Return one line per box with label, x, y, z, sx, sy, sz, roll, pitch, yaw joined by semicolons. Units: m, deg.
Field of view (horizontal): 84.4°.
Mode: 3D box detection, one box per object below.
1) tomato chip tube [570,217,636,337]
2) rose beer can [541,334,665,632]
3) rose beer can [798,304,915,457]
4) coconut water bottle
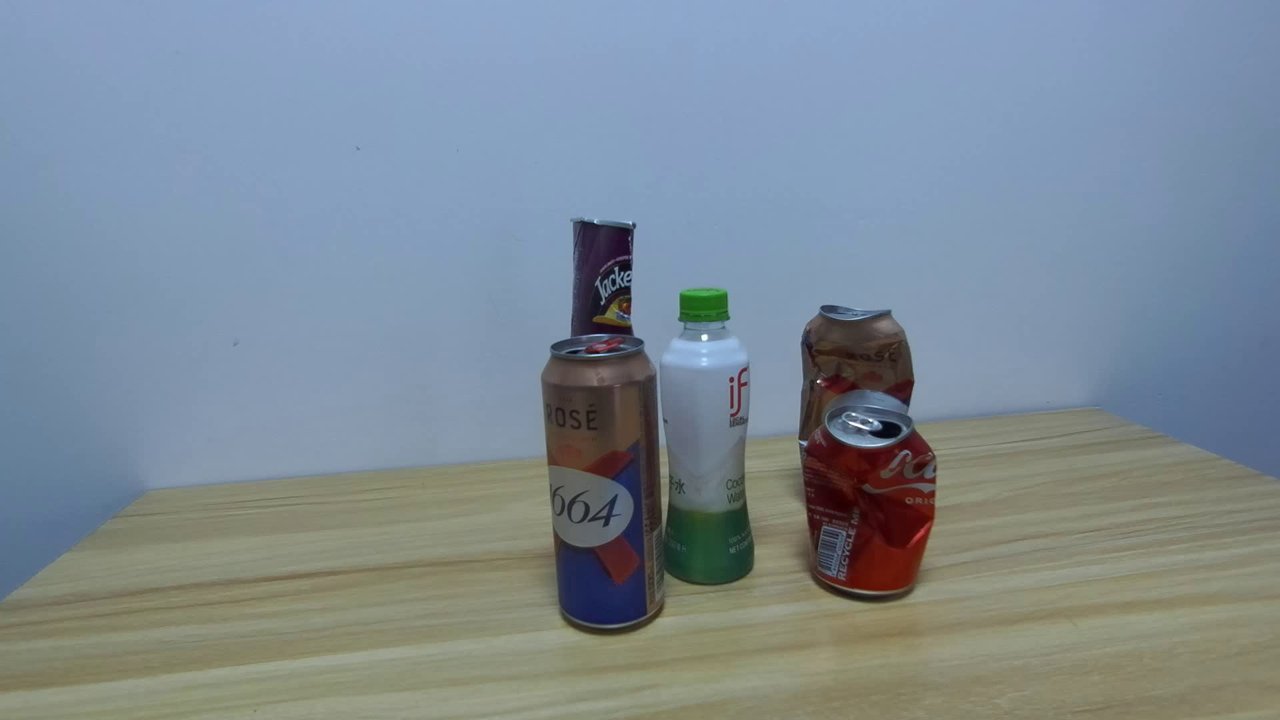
tomato chip tube;-0.023;0.012;0.534;0.078;0.235;0.090;1;13;16
rose beer can;-0.020;0.074;0.424;0.068;0.169;0.068;-2;15;1
rose beer can;0.160;0.042;0.537;0.074;0.161;0.068;0;8;-4
coconut water bottle;0.044;0.049;0.466;0.063;0.188;0.063;-2;13;1
